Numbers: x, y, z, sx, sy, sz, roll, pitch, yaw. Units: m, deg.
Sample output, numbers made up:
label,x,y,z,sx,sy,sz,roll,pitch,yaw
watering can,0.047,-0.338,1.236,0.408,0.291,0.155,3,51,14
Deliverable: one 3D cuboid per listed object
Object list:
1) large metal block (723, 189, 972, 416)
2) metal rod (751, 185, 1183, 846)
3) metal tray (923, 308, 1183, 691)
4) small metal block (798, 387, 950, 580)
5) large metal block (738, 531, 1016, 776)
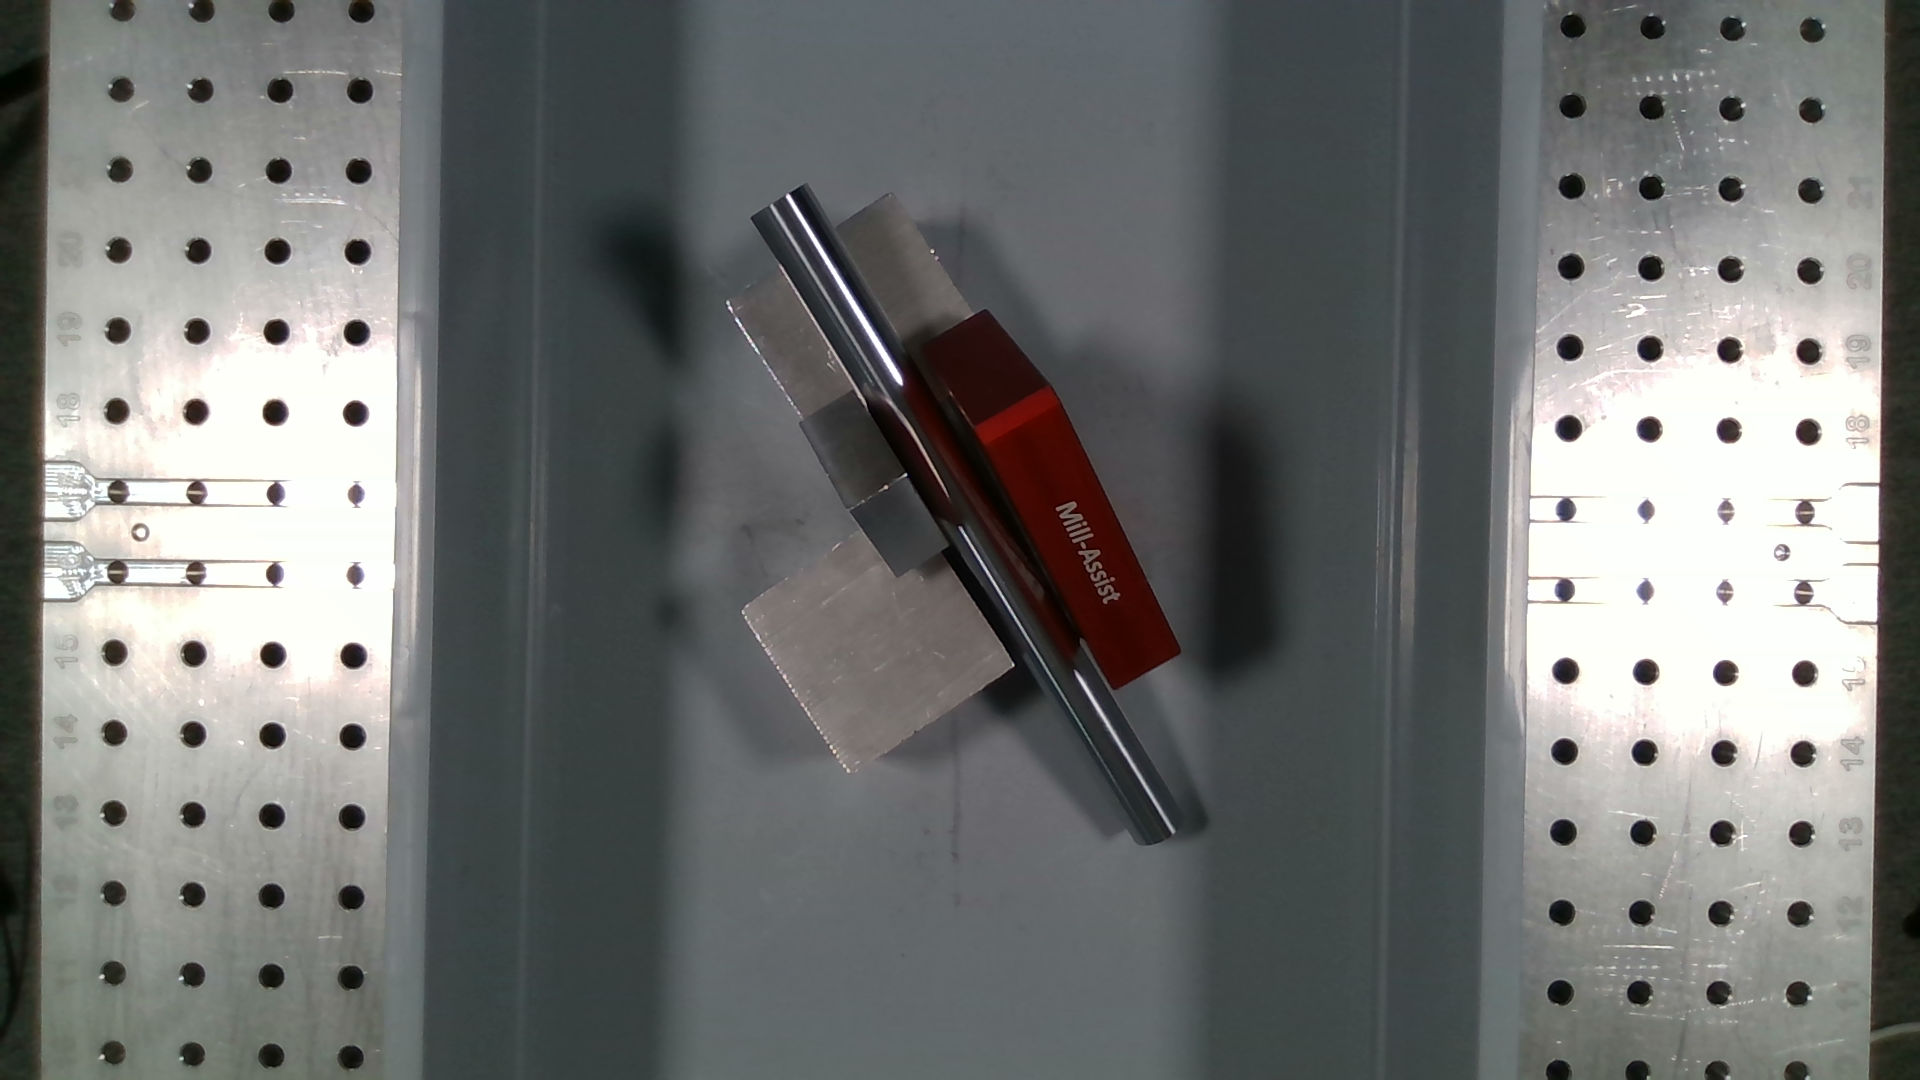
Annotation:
label,x,y,z,sx,sy,sz,roll,pitch,yaw
large metal block,-0.039,-0.084,0.571,0.080,0.050,0.080,-34,90,0
metal rod,0.009,-0.001,0.549,0.025,0.025,0.300,-31,105,0
metal tray,0.035,-0.015,0.527,0.030,0.090,0.130,-29,122,1
small metal block,-0.032,-0.021,0.525,0.025,0.050,0.050,-31,54,0
large metal block,-0.033,0.039,0.574,0.080,0.050,0.080,-34,90,0
